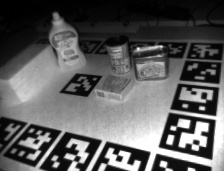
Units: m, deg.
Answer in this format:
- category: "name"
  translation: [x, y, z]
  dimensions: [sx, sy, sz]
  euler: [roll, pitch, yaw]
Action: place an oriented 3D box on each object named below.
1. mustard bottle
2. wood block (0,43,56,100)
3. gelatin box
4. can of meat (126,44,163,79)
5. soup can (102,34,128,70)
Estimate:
- category: "mustard bottle"
  translation: [-0.169, -0.148, 0.719]
  dimensions: [0.096, 0.193, 0.058]
  euler: [-10, 39, 5]
- category: "wood block"
  translation: [-0.290, -0.056, 0.719]
  dimensions: [0.090, 0.090, 0.207]
  euler: [10, 41, 25]
- category: "gelatin box"
  translation: [-0.007, 0.002, 0.605]
  dimensions: [0.088, 0.030, 0.073]
  euler: [14, 49, 34]
- category: "can of meat"
  translation: [0.095, -0.066, 0.621]
  dimensions: [0.101, 0.084, 0.057]
  euler: [-1, 42, 13]
- category: "soup can"
  translation: [0.013, -0.106, 0.664]
  dimensions: [0.067, 0.103, 0.067]
  euler: [-9, 41, 9]
